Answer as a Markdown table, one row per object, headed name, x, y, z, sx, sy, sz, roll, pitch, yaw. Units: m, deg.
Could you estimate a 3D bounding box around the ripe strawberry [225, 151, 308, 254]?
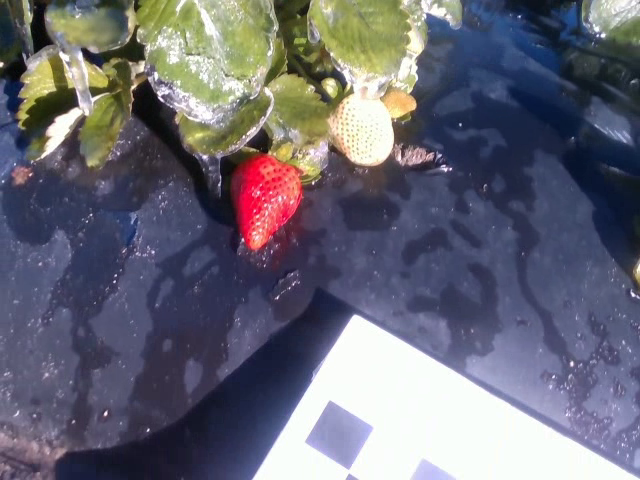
| name | x | y | z | sx | sy | sz | roll | pitch | yaw |
| --- | --- | --- | --- | --- | --- | --- | --- | --- | --- |
| ripe strawberry | -0.030 | -0.019 | 0.288 | 0.041 | 0.052 | 0.040 | 14 | -18 | 6 |
